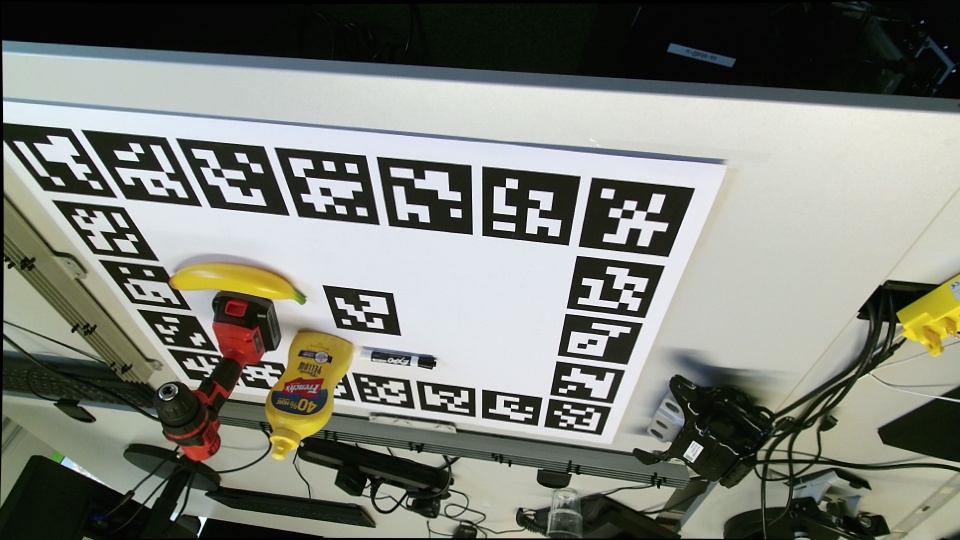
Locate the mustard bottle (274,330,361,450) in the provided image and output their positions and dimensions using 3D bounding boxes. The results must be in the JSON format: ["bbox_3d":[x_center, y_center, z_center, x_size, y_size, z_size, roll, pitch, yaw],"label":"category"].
[{"bbox_3d":[-0.256,0.182,0.815,0.096,0.190,0.058,14,135,-1],"label":"mustard bottle"}]

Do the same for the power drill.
[{"bbox_3d":[-0.363,0.137,0.768,0.057,0.186,0.185,17,137,-2],"label":"power drill"}]

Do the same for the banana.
[{"bbox_3d":[-0.339,0.009,0.773,0.198,0.038,0.074,10,134,-1],"label":"banana"}]

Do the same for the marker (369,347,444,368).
[{"bbox_3d":[-0.118,0.142,0.869,0.121,0.019,0.019,7,134,4],"label":"marker"}]
